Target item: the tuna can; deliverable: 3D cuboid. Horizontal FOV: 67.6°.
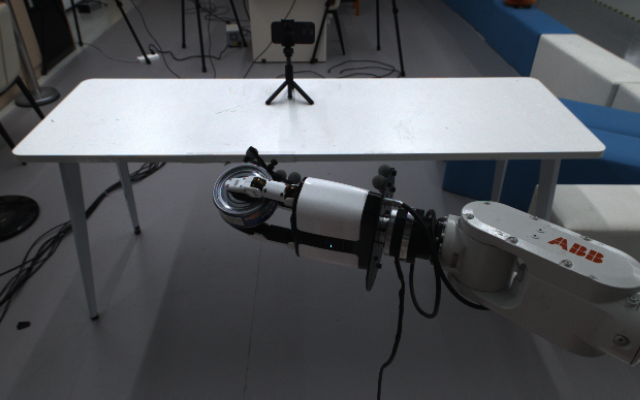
[{"bbox_3d":[-0.098,-0.001,0.654,0.085,0.034,0.085,-4,58,6],"label":"tuna can"}]
